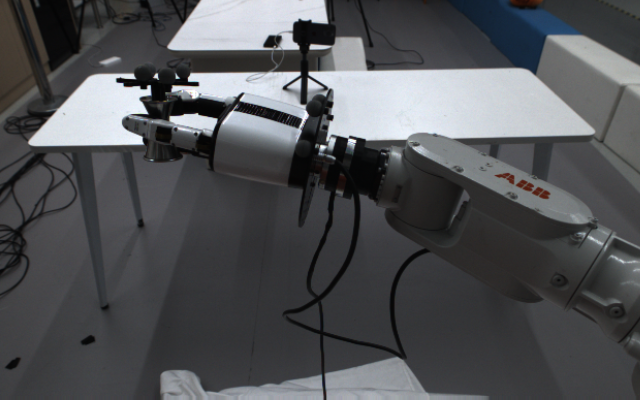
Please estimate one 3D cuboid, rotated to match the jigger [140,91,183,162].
[{"bbox_3d":[-0.180,-0.082,0.553,0.043,0.071,0.043,2,20,-1],"label":"jigger"}]
